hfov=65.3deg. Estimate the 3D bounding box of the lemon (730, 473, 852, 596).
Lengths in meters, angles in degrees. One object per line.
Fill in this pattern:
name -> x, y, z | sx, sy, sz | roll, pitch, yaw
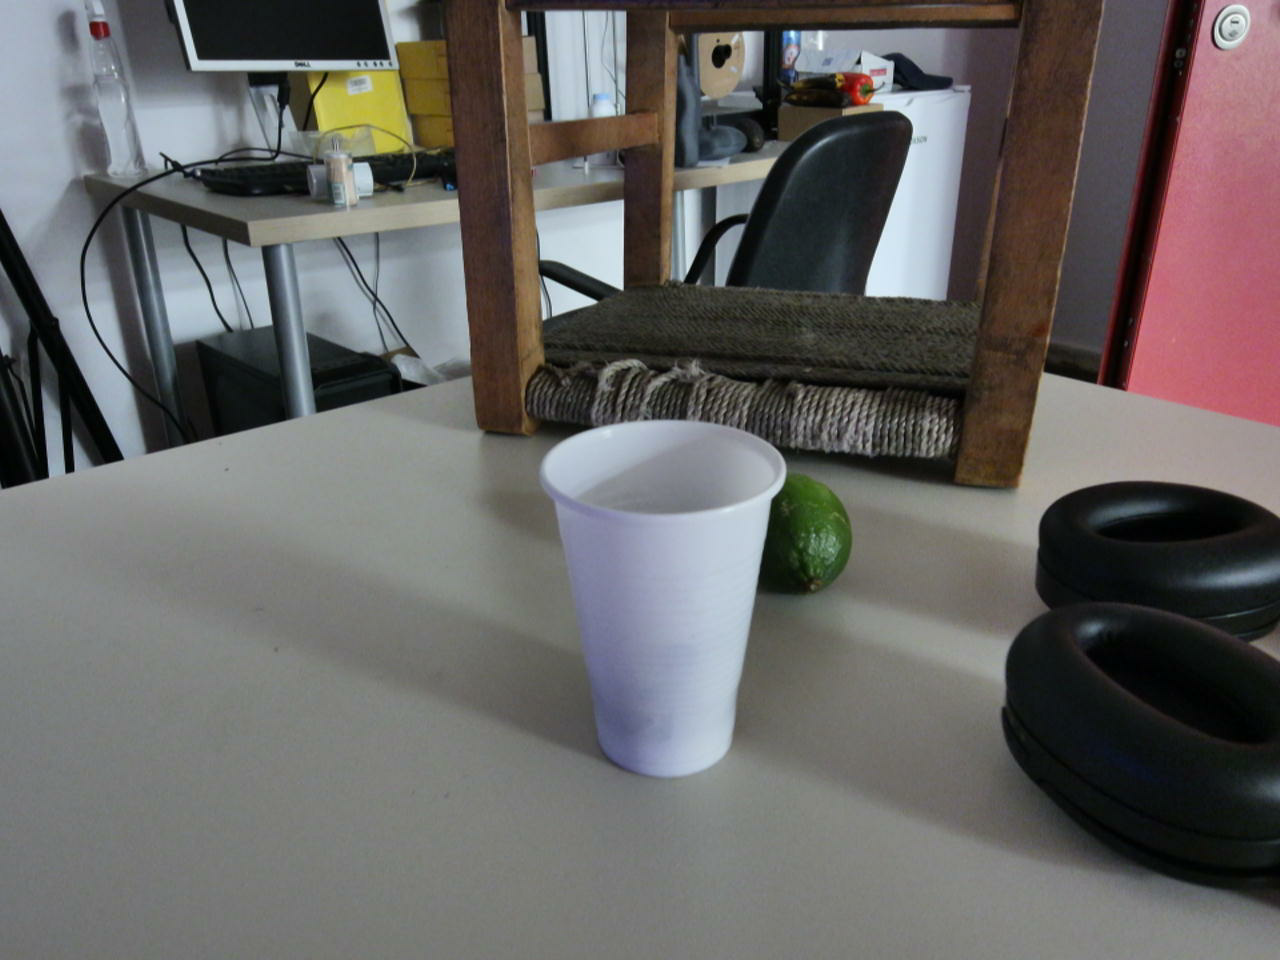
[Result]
lemon -> 0.067, 0.023, 0.443 | 0.054, 0.051, 0.057 | -19, 29, -39
